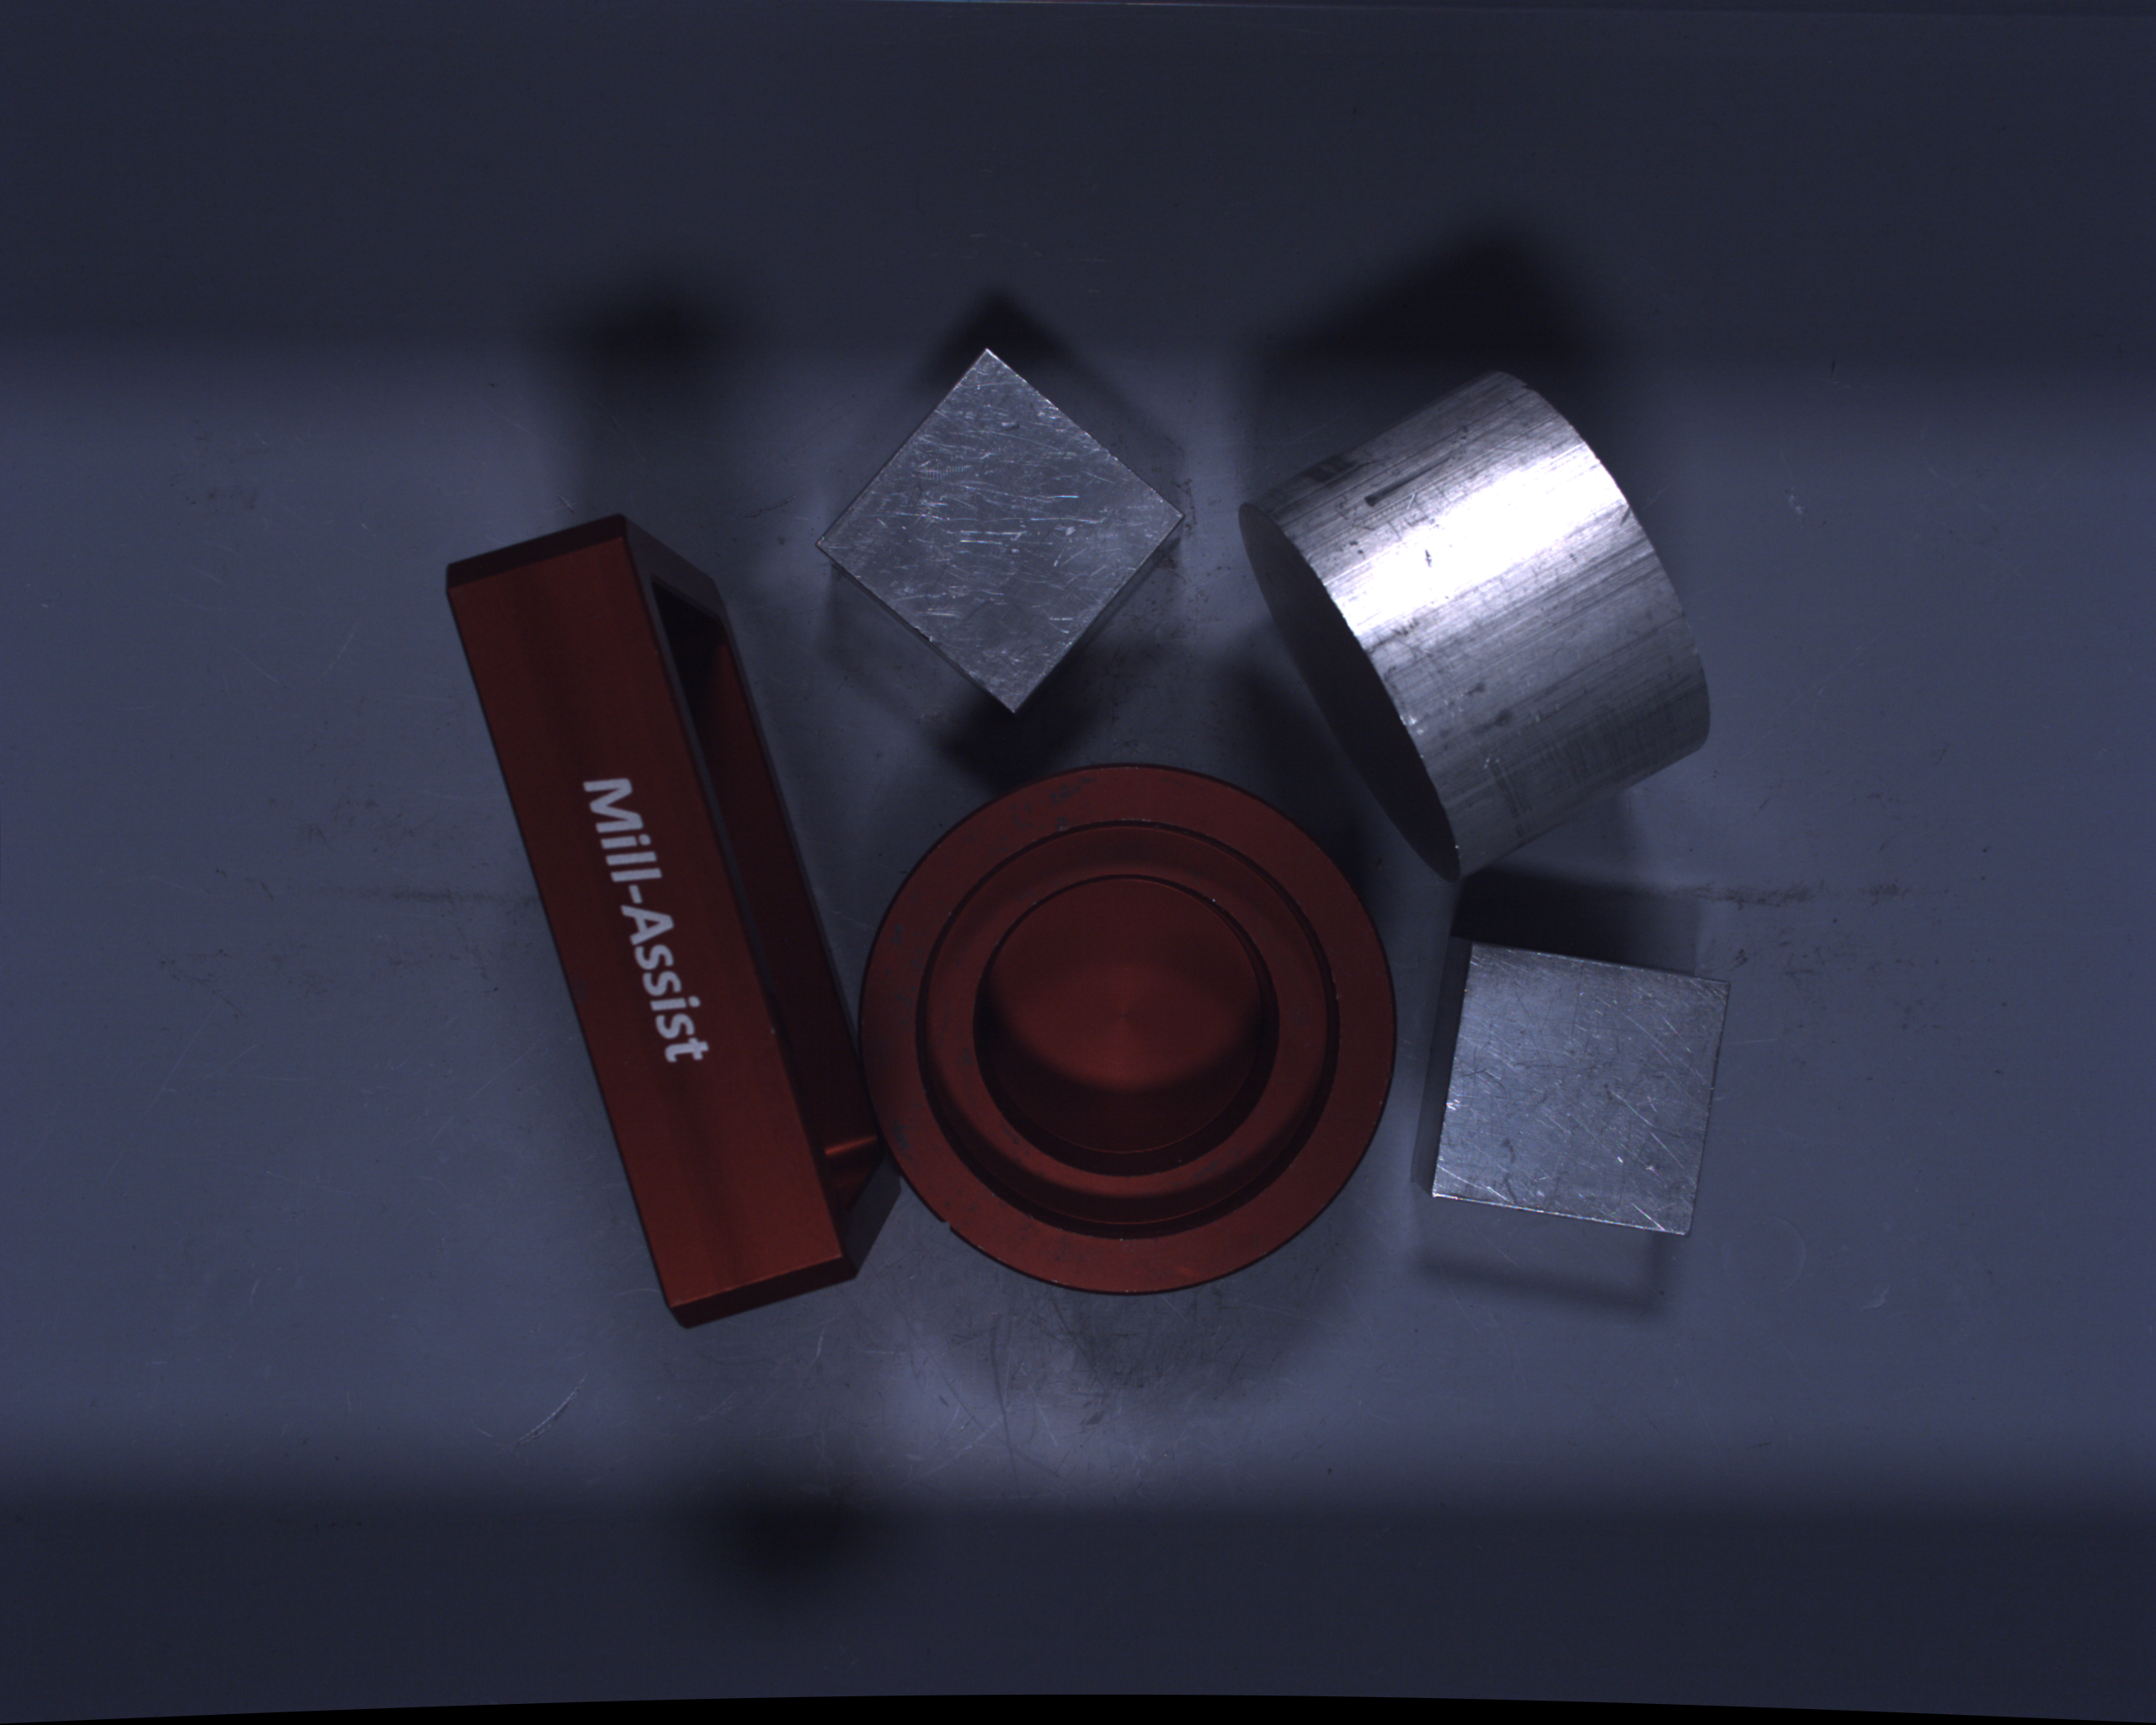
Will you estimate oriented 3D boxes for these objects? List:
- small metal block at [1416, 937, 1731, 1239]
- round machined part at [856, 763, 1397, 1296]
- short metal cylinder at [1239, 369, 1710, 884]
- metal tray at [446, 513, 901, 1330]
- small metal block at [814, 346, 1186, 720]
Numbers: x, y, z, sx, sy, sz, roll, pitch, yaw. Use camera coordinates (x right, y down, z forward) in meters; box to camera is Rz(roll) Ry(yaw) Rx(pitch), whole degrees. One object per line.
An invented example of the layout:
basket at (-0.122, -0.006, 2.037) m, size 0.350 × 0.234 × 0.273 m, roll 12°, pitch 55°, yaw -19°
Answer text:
small metal block at (0.096, 0.043, 0.411) m, size 0.050 × 0.025 × 0.050 m, roll 9°, pitch 89°, yaw 1°
round machined part at (0.009, 0.030, 0.400) m, size 0.099 × 0.042 × 0.097 m, roll 0°, pitch 90°, yaw -1°
short metal cylinder at (0.071, -0.043, 0.383) m, size 0.050 × 0.080 × 0.080 m, roll -29°, pitch 90°, yaw 0°
metal tray at (-0.069, 0.009, 0.376) m, size 0.030 × 0.090 × 0.129 m, roll -17°, pitch 90°, yaw 0°
small metal block at (-0.015, -0.063, 0.409) m, size 0.050 × 0.025 × 0.050 m, roll 40°, pitch 90°, yaw 1°
